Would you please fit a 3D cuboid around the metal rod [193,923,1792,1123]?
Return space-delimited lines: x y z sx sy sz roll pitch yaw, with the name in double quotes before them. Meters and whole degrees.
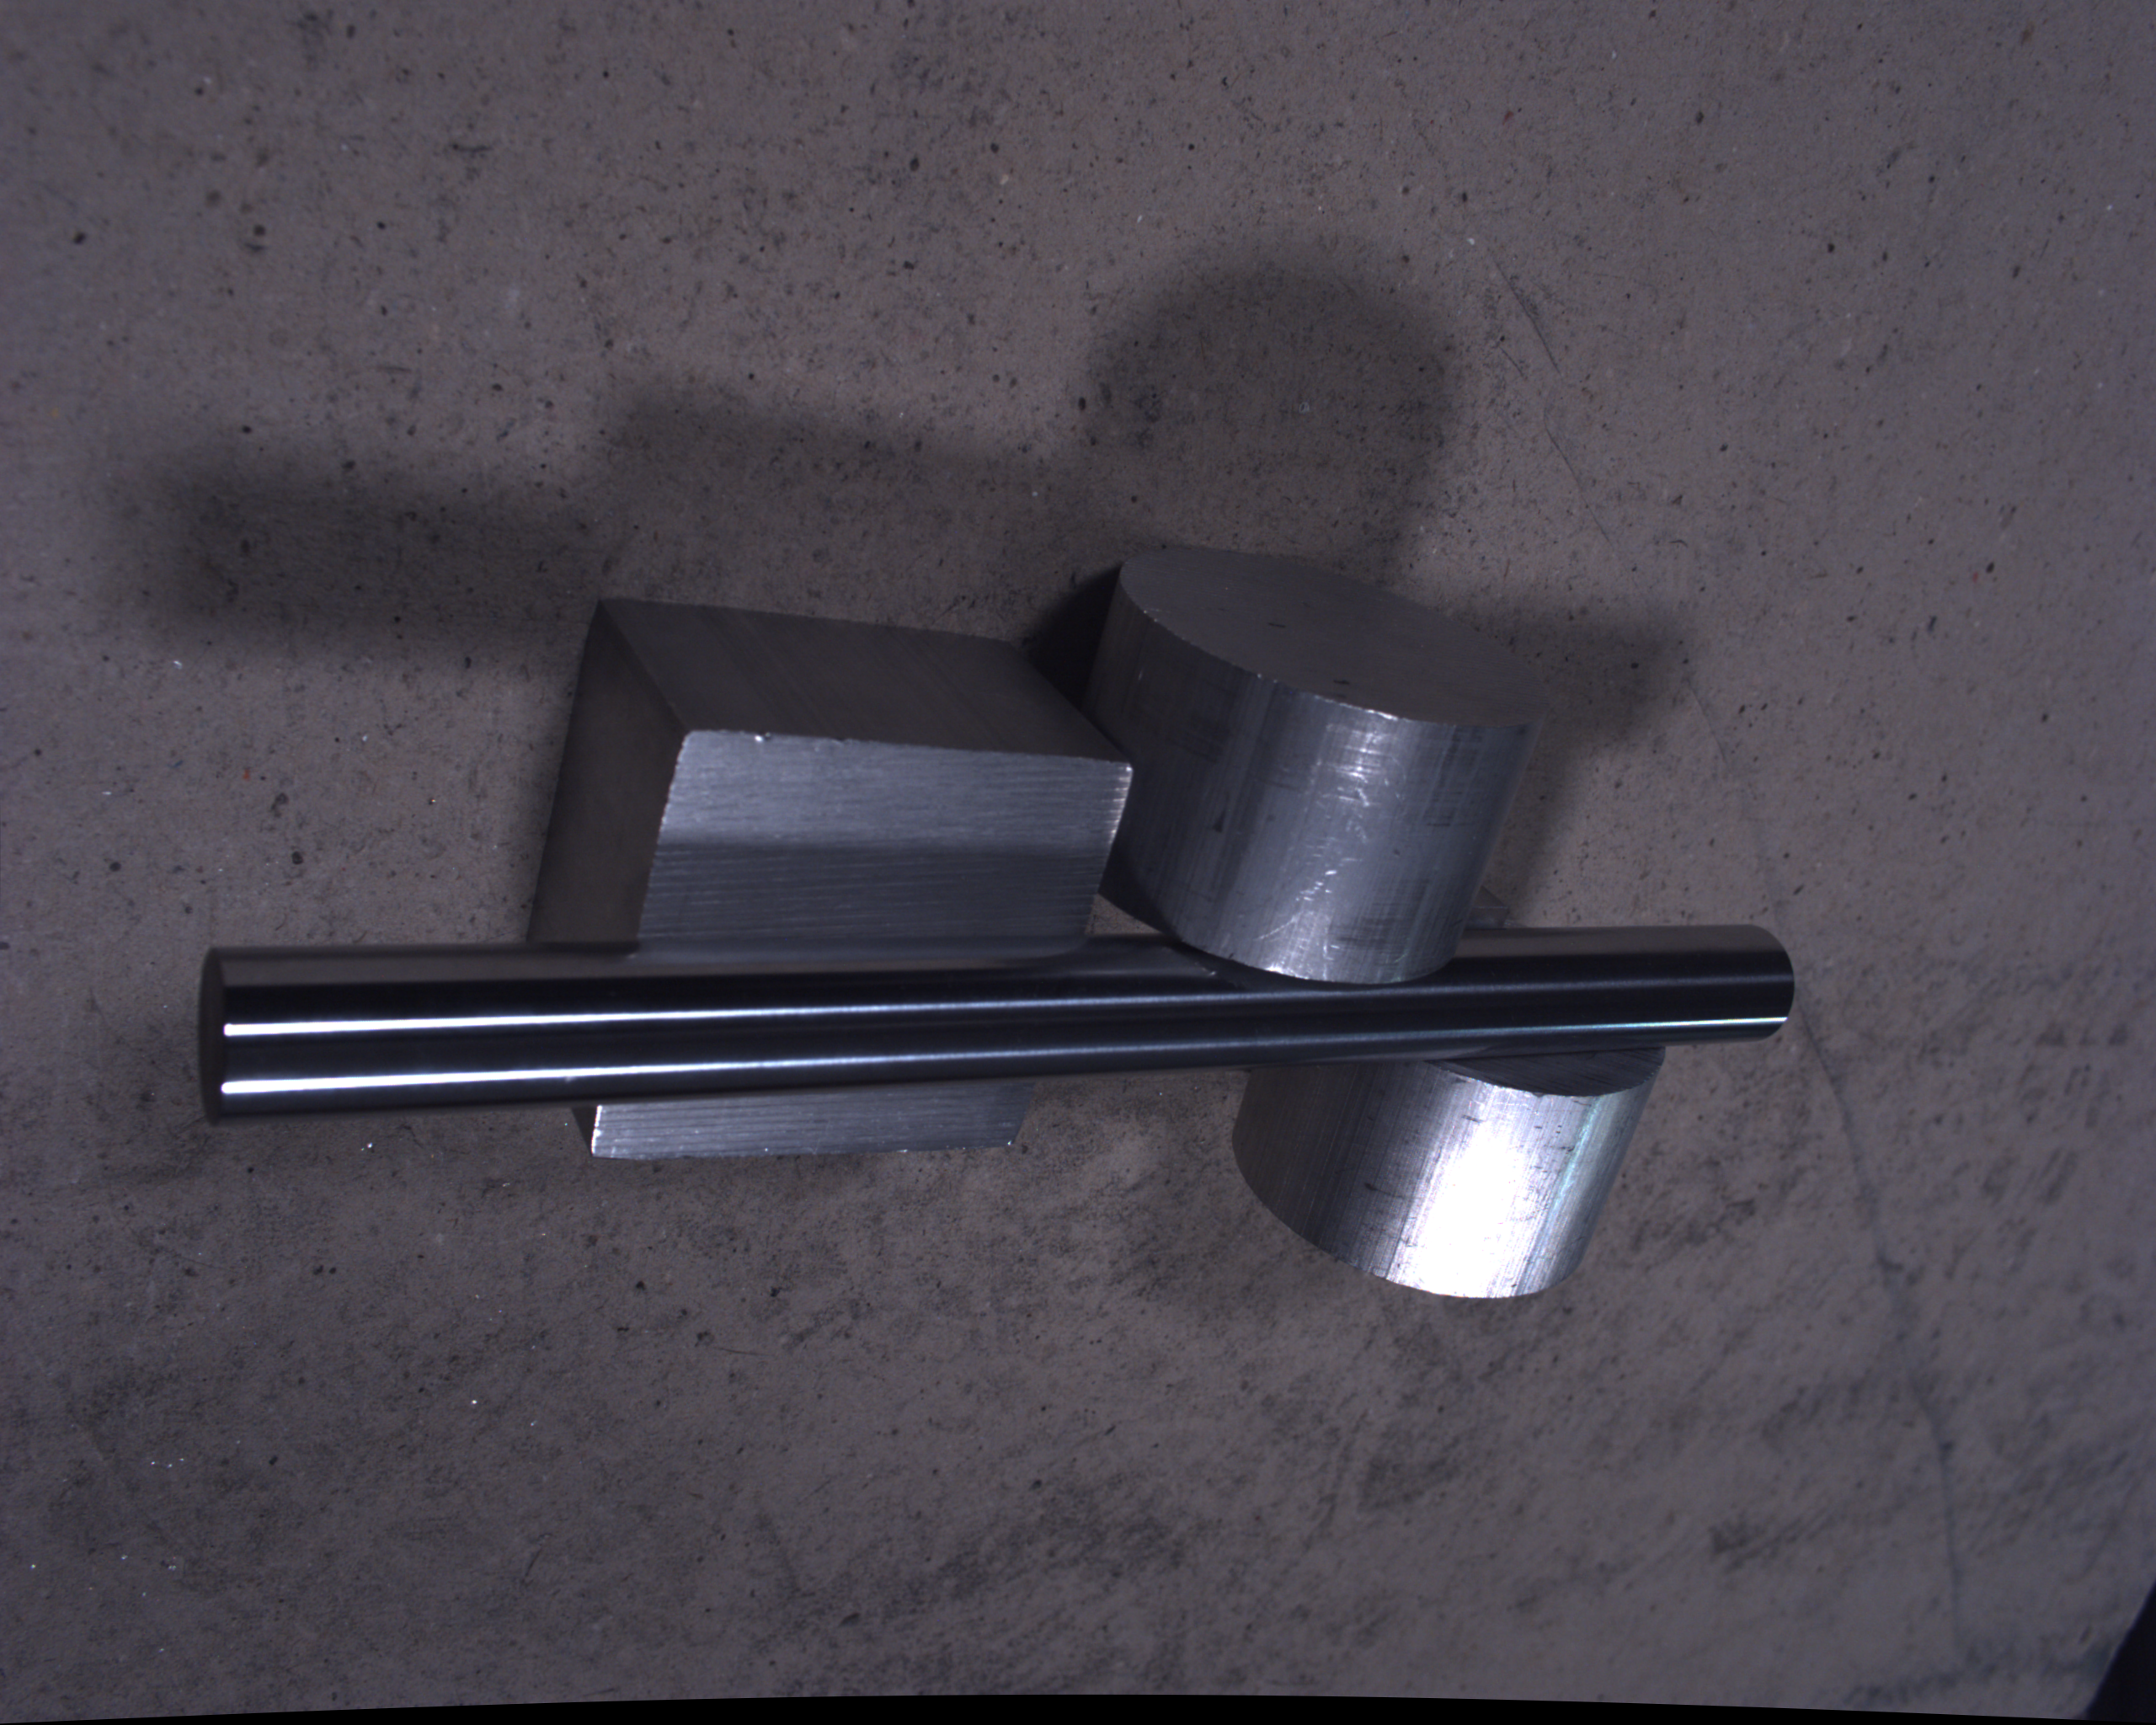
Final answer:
"metal rod" 0.010 0.024 0.364 0.303 0.025 0.025 0 118 -30

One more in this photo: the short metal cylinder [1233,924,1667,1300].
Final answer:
"short metal cylinder" 0.078 0.048 0.447 0.081 0.080 0.050 0 119 -29

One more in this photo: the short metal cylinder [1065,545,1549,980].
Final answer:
"short metal cylinder" 0.039 -0.020 0.384 0.081 0.080 0.050 2 118 -30

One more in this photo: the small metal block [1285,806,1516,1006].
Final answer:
"small metal block" 0.051 0.008 0.425 0.050 0.050 0.025 1 118 -29

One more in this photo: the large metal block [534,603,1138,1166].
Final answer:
"large metal block" -0.046 0.005 0.367 0.081 0.050 0.079 3 117 -30
